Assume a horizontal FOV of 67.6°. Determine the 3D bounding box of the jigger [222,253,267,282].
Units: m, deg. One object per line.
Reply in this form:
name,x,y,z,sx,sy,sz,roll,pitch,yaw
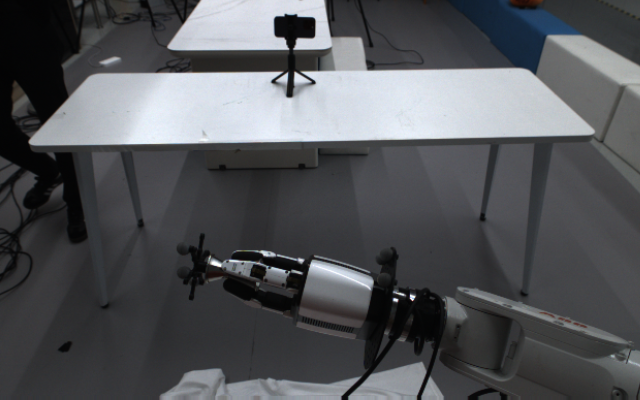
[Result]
jigger,-0.106,0.091,0.645,0.071,0.043,0.043,6,35,2
